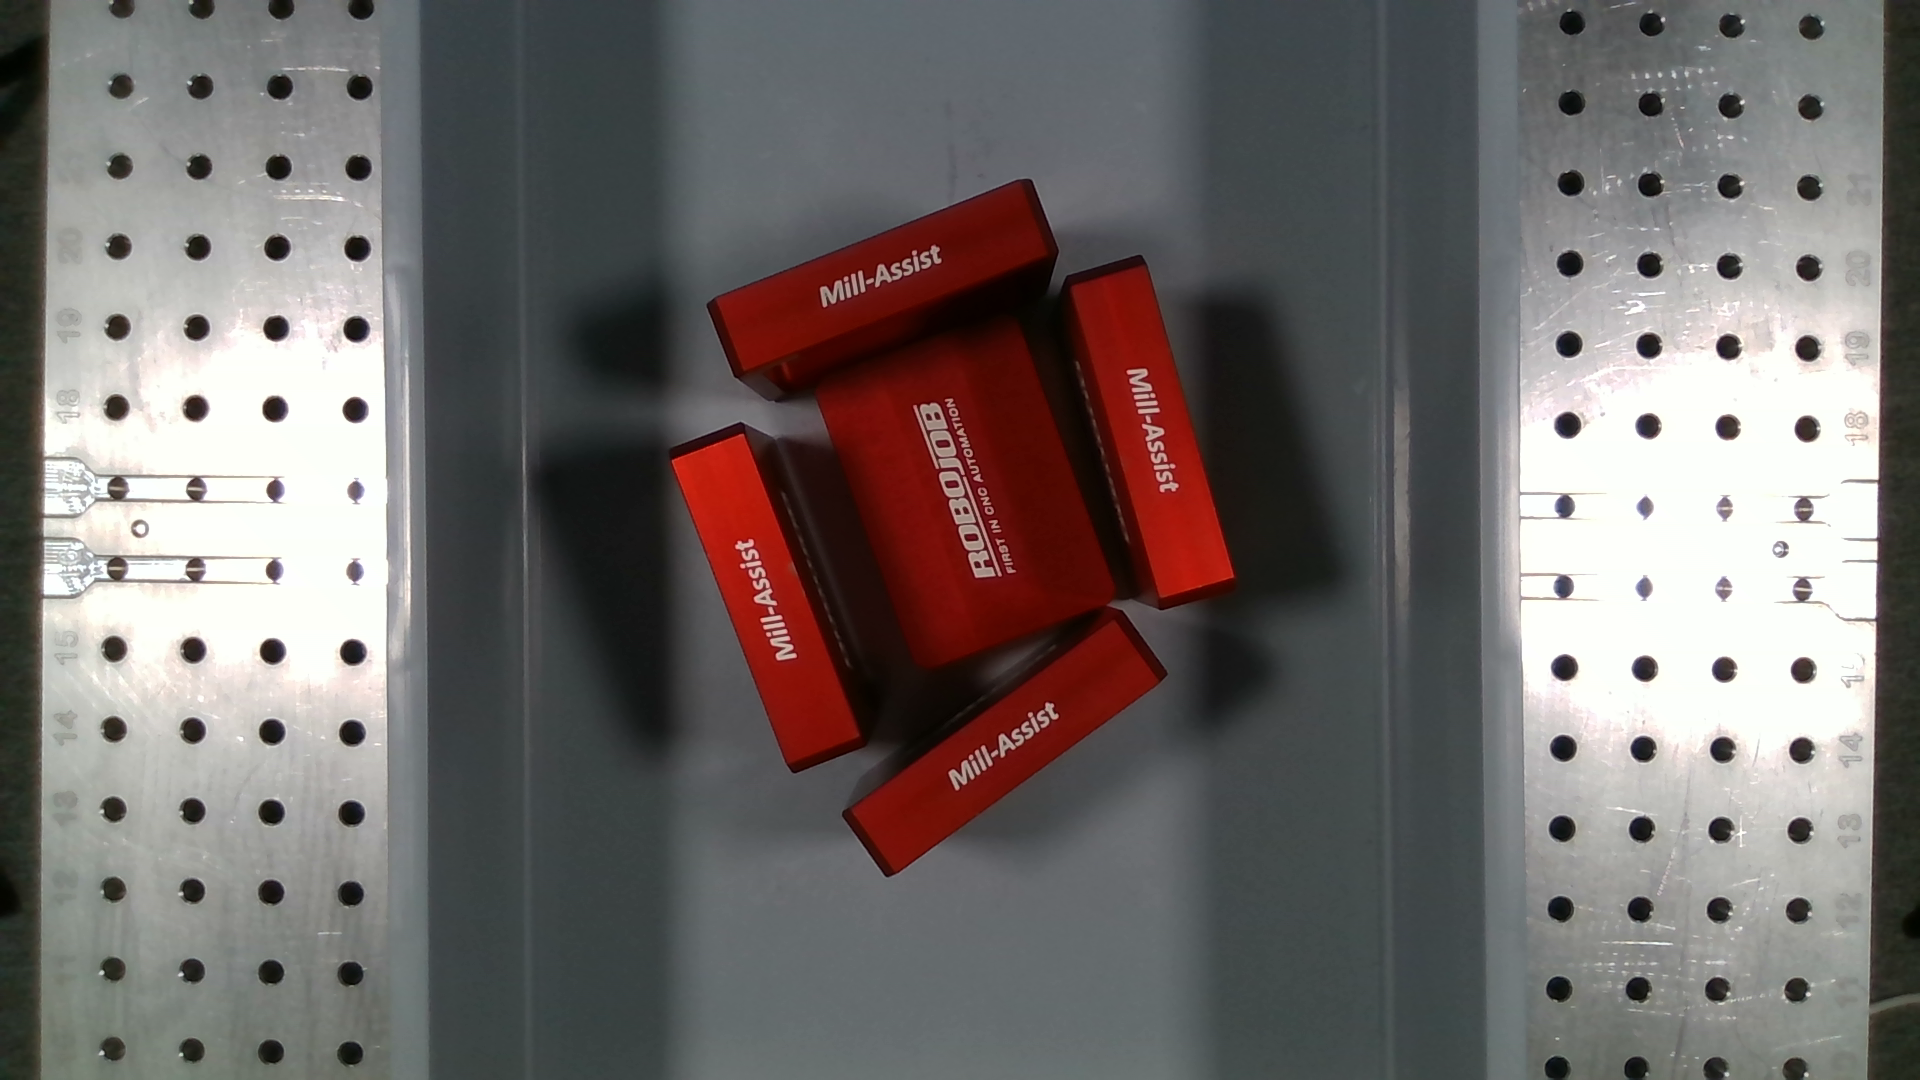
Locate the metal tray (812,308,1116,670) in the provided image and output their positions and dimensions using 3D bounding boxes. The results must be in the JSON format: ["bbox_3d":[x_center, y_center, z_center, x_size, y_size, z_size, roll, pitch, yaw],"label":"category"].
[{"bbox_3d":[0.002,-0.021,0.582,0.090,0.030,0.130,-20,91,0],"label":"metal tray"}]

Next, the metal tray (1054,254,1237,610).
[{"bbox_3d":[0.071,-0.040,0.553,0.030,0.090,0.130,-16,90,0],"label":"metal tray"}]

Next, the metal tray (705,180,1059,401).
[{"bbox_3d":[-0.029,-0.097,0.552,0.130,0.090,0.030,-21,90,0],"label":"metal tray"}]

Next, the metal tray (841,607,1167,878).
[{"bbox_3d":[0.017,0.077,0.554,0.130,0.090,0.030,-36,89,0],"label":"metal tray"}]

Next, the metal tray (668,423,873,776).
[{"bbox_3d":[-0.072,0.022,0.553,0.030,0.090,0.130,-21,90,0],"label":"metal tray"}]
